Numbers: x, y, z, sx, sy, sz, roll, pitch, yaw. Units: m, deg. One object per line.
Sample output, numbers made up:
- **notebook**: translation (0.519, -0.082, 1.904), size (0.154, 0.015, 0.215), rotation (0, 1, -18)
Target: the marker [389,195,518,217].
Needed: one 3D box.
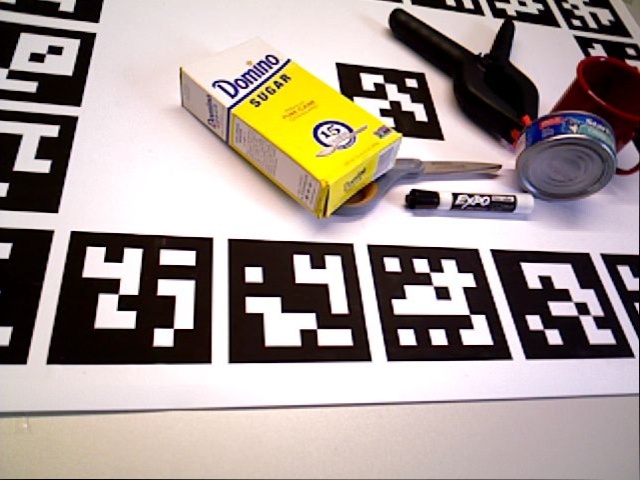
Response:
- **marker**: translation (0.118, -0.030, 0.481), size (0.119, 0.020, 0.019), rotation (-1, 59, -15)

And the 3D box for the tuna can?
- **tuna can**: translation (0.221, -0.072, 0.495), size (0.085, 0.088, 0.033), rotation (17, 54, -4)

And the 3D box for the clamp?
- **clamp**: translation (0.168, -0.175, 0.591), size (0.163, 0.037, 0.201), rotation (-7, 61, -19)

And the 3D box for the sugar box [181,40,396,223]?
- **sugar box**: translation (-0.031, -0.101, 0.465), size (0.091, 0.046, 0.176), rotation (-33, 65, -31)

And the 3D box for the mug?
- **mug**: translation (0.271, -0.111, 0.540), size (0.091, 0.083, 0.117), rotation (-23, 63, -27)

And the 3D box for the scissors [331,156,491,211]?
- **scissors**: translation (0.071, -0.068, 0.490), size (0.200, 0.016, 0.087), rotation (-6, 56, -20)
